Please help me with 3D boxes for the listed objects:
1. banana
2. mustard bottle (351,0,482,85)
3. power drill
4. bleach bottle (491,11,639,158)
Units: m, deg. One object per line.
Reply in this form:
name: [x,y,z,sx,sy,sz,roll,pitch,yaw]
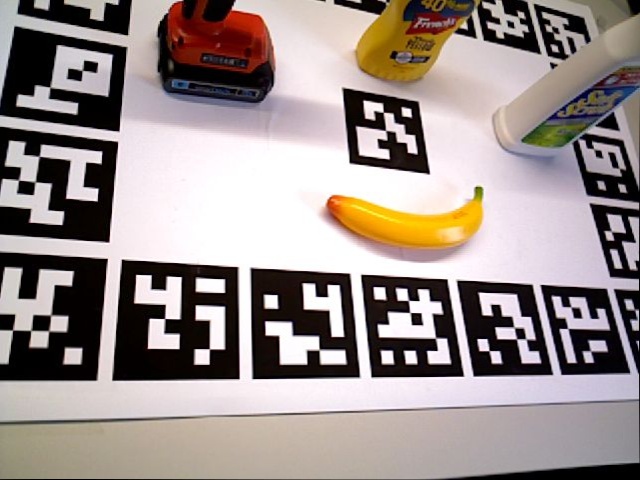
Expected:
banana: [0.103,-0.023,0.559,0.194,0.039,0.074,-2,72,-19]
mustard bottle: [0.114,-0.245,0.576,0.094,0.196,0.058,-3,69,-25]
power drill: [-0.046,-0.228,0.469,0.182,0.191,0.057,-2,69,-19]
bleach bottle: [0.307,-0.184,0.591,0.101,0.256,0.067,12,64,-17]
